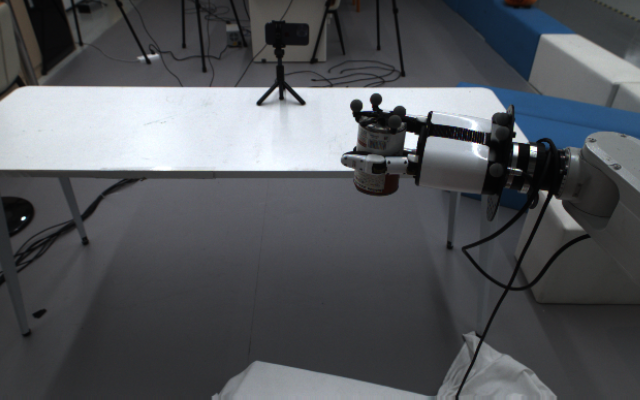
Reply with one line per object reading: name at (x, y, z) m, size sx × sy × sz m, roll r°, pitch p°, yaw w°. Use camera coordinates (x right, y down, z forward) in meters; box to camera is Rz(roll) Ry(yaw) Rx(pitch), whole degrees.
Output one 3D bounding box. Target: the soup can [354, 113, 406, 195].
soup can at (0.084, -0.066, 0.691) m, size 0.067 × 0.101 × 0.067 m, roll 2°, pitch 32°, yaw -1°
